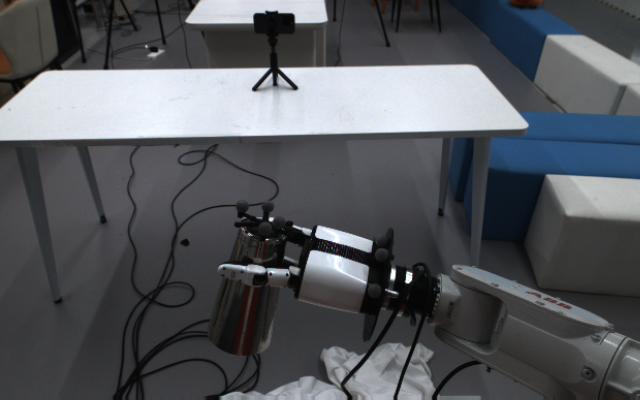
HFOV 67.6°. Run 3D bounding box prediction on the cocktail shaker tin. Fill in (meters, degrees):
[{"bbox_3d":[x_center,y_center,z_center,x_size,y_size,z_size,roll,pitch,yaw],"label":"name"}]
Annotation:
[{"bbox_3d":[-0.094,0.115,0.675,0.093,0.170,0.093,14,19,-5],"label":"cocktail shaker tin"}]
